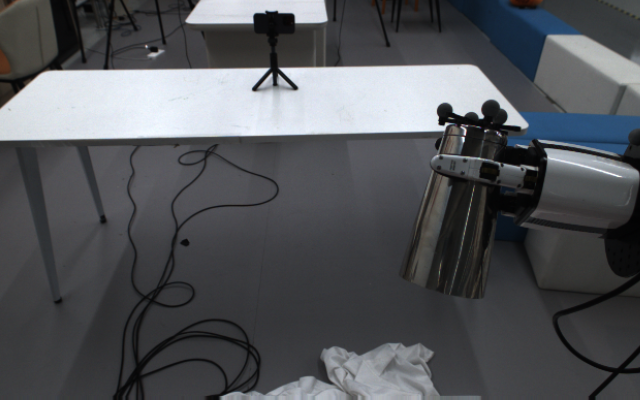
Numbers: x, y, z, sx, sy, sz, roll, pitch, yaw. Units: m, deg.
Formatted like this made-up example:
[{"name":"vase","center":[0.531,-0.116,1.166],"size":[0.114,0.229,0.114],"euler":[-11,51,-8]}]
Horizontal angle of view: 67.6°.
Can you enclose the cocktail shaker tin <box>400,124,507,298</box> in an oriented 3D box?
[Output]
[{"name":"cocktail shaker tin","center":[0.153,0.007,0.526],"size":[0.093,0.170,0.093],"euler":[12,3,-1]}]
